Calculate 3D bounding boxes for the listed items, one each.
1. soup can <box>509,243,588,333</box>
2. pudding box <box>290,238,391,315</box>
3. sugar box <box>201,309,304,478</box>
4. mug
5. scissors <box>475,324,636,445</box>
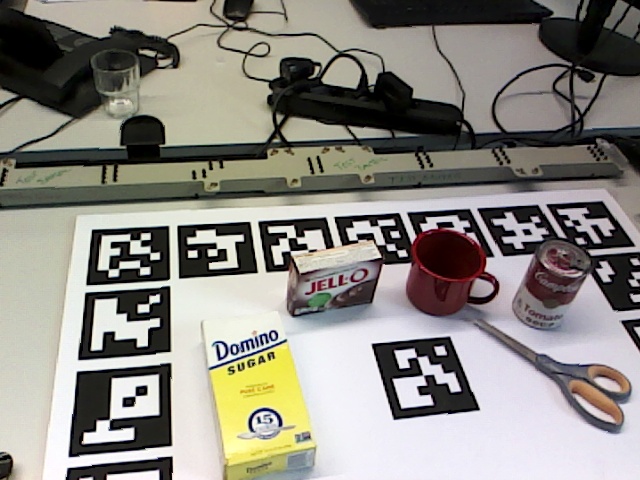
[{"bbox_3d":[0.289,0.063,0.790,0.068,0.102,0.068,3,45,-3],"label":"soup can"},{"bbox_3d":[0.023,0.044,0.770,0.113,0.090,0.039,-10,55,-16],"label":"pudding box"},{"bbox_3d":[-0.078,0.163,0.686,0.092,0.045,0.177,-7,49,-10],"label":"sugar box"},{"bbox_3d":[0.168,0.041,0.801,0.093,0.081,0.118,-35,58,-30],"label":"mug"},{"bbox_3d":[0.278,0.156,0.746,0.204,0.016,0.087,34,61,22],"label":"scissors"}]
